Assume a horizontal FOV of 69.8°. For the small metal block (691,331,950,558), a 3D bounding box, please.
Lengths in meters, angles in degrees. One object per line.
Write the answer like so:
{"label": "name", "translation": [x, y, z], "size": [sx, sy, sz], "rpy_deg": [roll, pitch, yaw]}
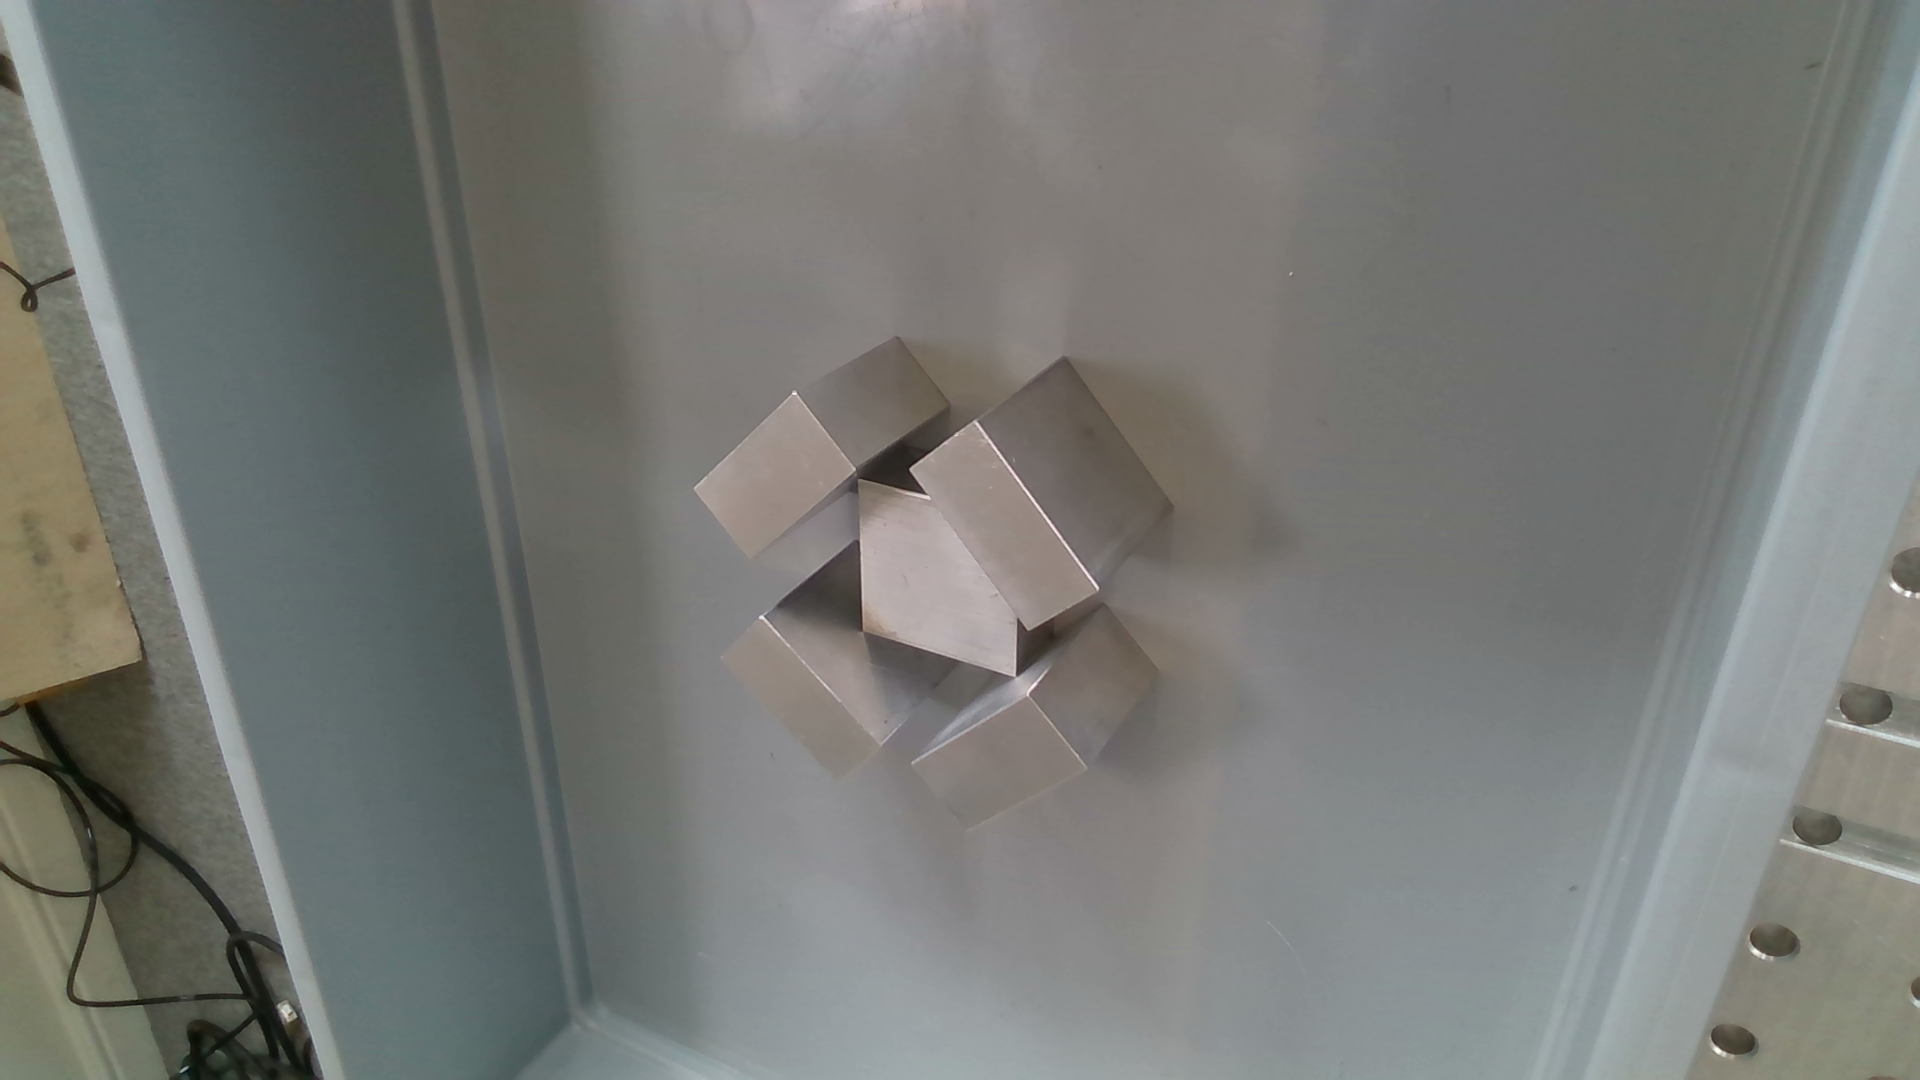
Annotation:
{"label": "small metal block", "translation": [-0.038, -0.027, 0.380], "size": [0.050, 0.050, 0.025], "rpy_deg": [-37, 92, 39]}

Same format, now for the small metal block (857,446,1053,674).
{"label": "small metal block", "translation": [-0.001, 0.005, 0.390], "size": [0.050, 0.025, 0.050], "rpy_deg": [15, 122, 24]}

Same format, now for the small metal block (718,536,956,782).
{"label": "small metal block", "translation": [-0.035, 0.035, 0.411], "size": [0.050, 0.050, 0.025], "rpy_deg": [47, 130, 0]}

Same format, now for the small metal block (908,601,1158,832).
{"label": "small metal block", "translation": [0.021, 0.049, 0.385], "size": [0.025, 0.050, 0.050], "rpy_deg": [51, 130, -3]}

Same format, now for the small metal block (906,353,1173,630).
{"label": "small metal block", "translation": [0.022, -0.013, 0.350], "size": [0.025, 0.050, 0.050], "rpy_deg": [-33, 95, 38]}
